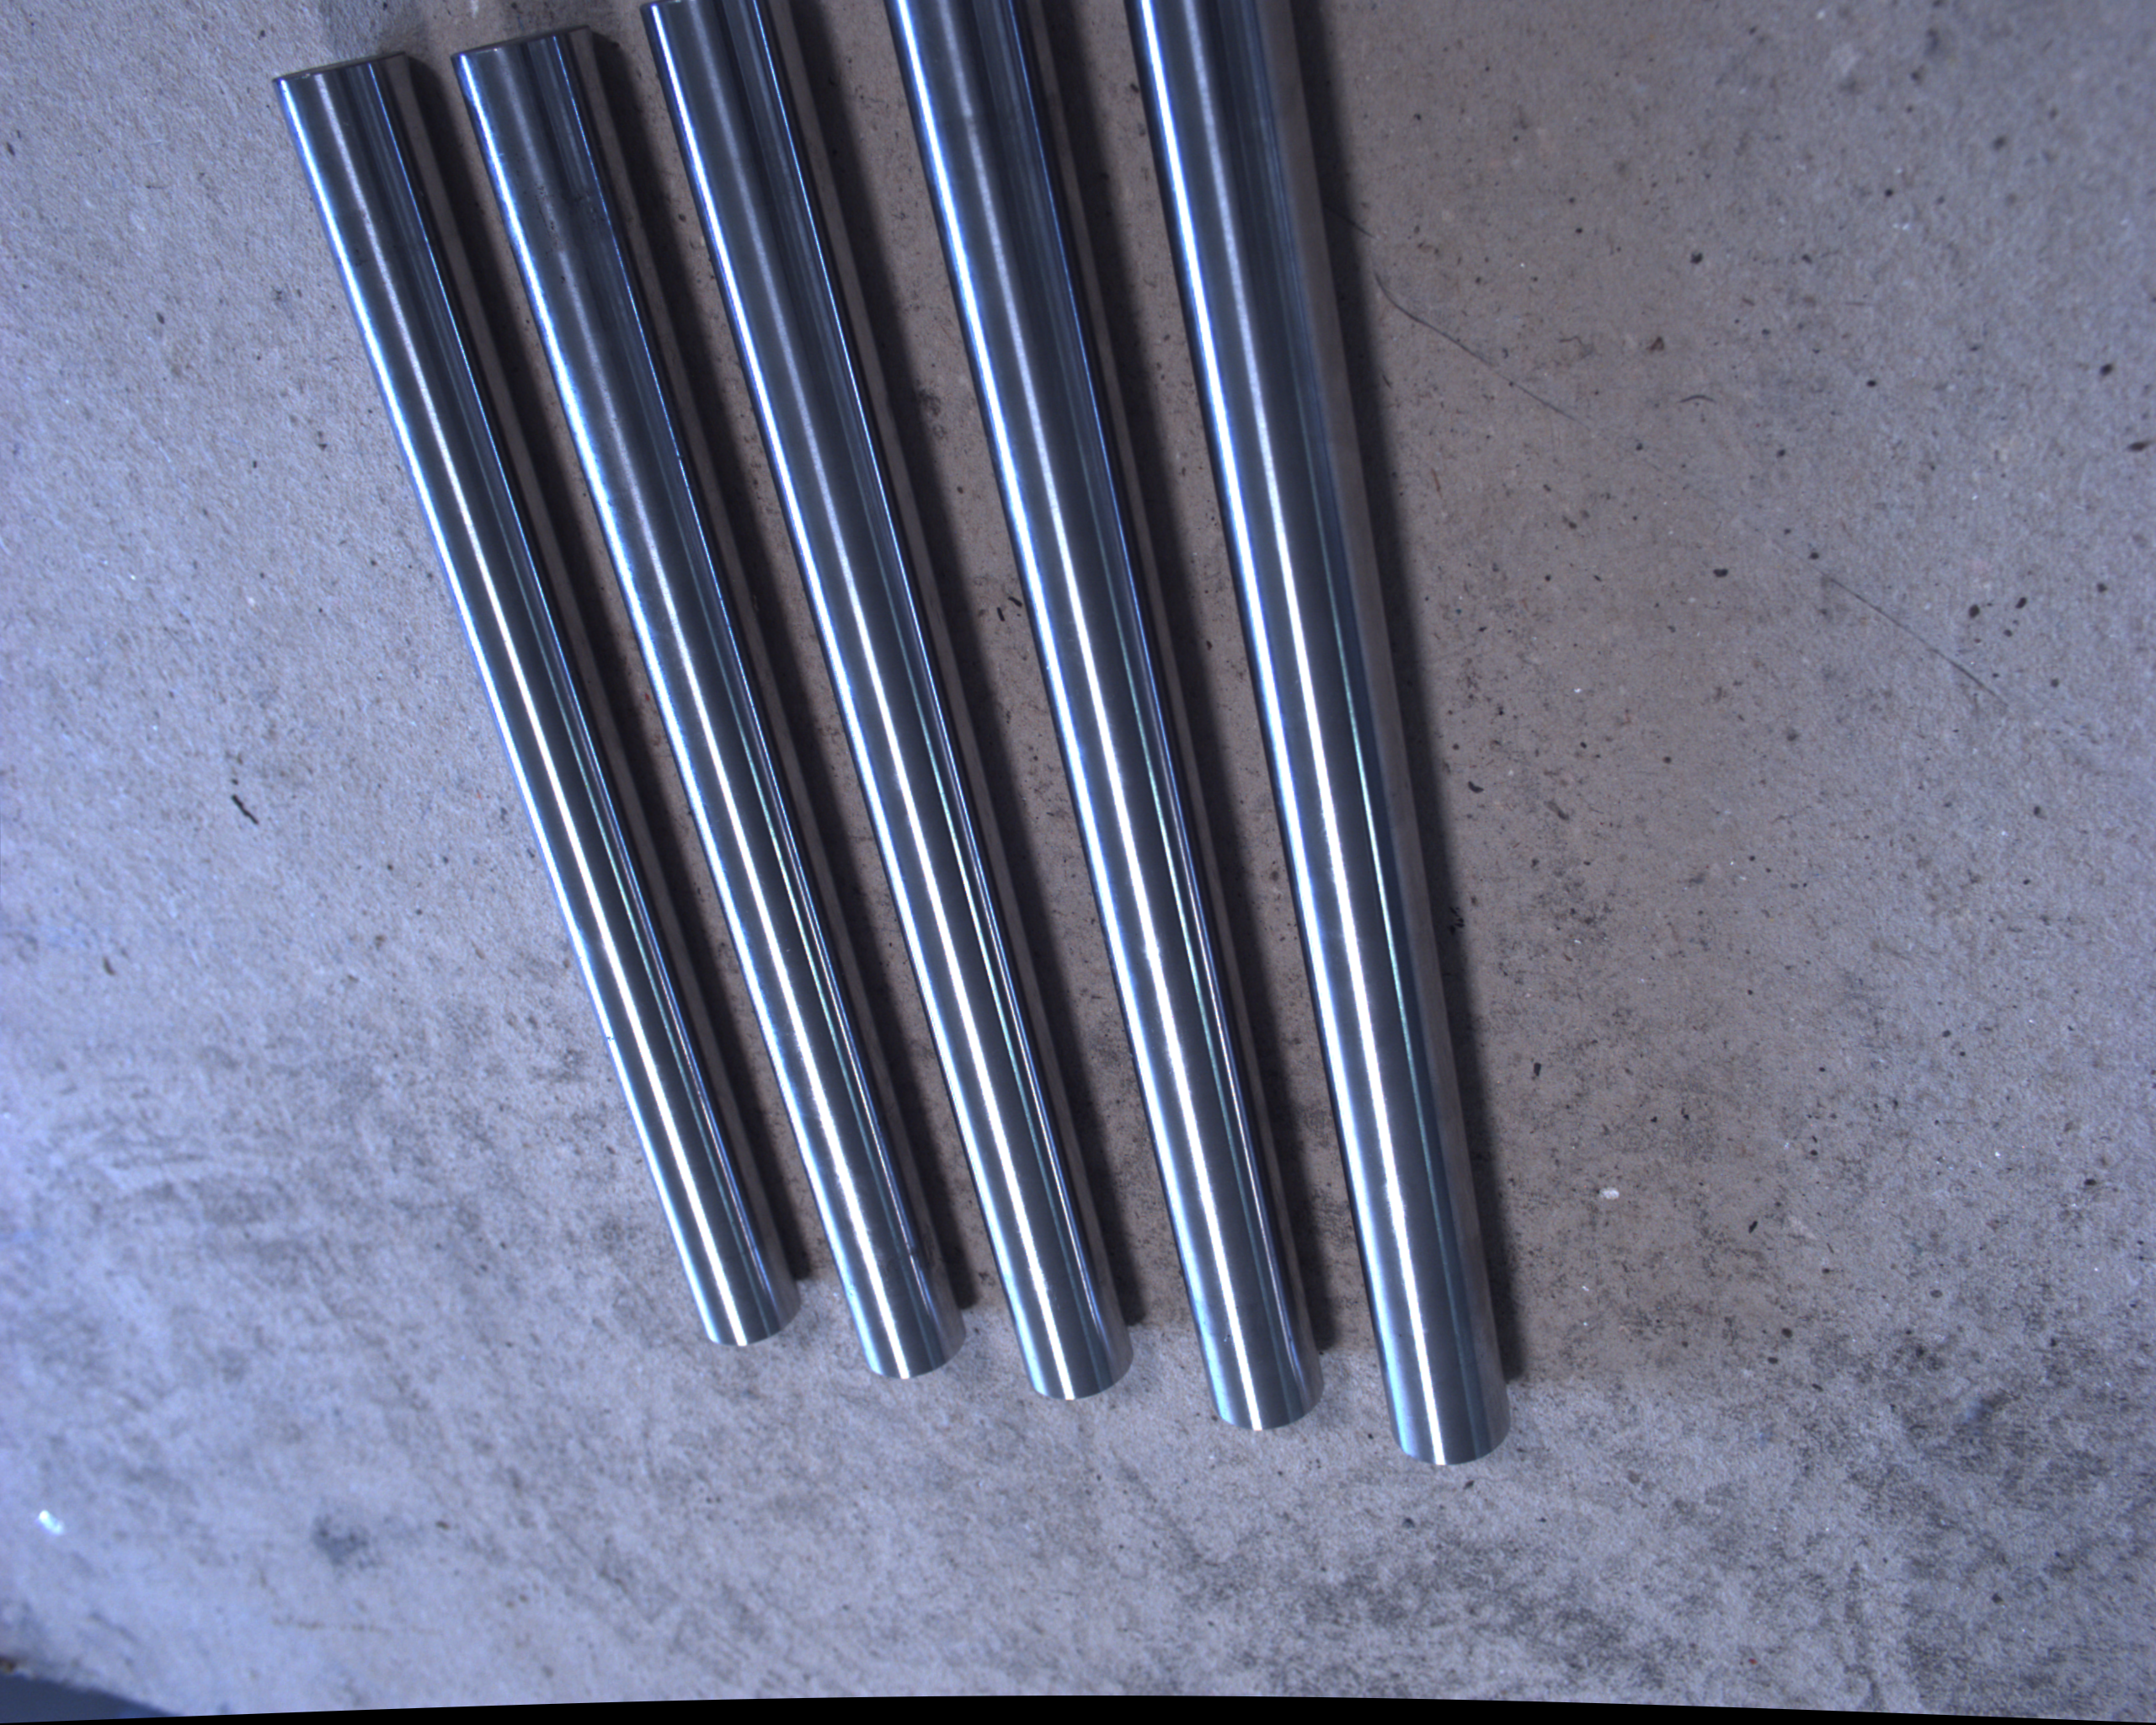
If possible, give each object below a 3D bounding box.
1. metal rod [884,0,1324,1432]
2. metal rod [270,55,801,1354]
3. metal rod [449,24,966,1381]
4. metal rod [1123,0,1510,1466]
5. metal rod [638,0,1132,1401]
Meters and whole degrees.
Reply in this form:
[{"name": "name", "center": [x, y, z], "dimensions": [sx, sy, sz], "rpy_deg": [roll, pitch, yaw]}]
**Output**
[{"name": "metal rod", "center": [0.011, -0.015, 0.393], "dimensions": [0.025, 0.025, 0.298], "rpy_deg": [1, 119, 28]}, {"name": "metal rod", "center": [-0.109, -0.017, 0.454], "dimensions": [0.025, 0.025, 0.298], "rpy_deg": [2, 120, 27]}, {"name": "metal rod", "center": [-0.069, -0.015, 0.435], "dimensions": [0.025, 0.025, 0.298], "rpy_deg": [2, 119, 27]}, {"name": "metal rod", "center": [0.047, -0.013, 0.375], "dimensions": [0.025, 0.025, 0.298], "rpy_deg": [1, 119, 28]}, {"name": "metal rod", "center": [-0.031, -0.016, 0.415], "dimensions": [0.025, 0.025, 0.298], "rpy_deg": [1, 119, 28]}]
